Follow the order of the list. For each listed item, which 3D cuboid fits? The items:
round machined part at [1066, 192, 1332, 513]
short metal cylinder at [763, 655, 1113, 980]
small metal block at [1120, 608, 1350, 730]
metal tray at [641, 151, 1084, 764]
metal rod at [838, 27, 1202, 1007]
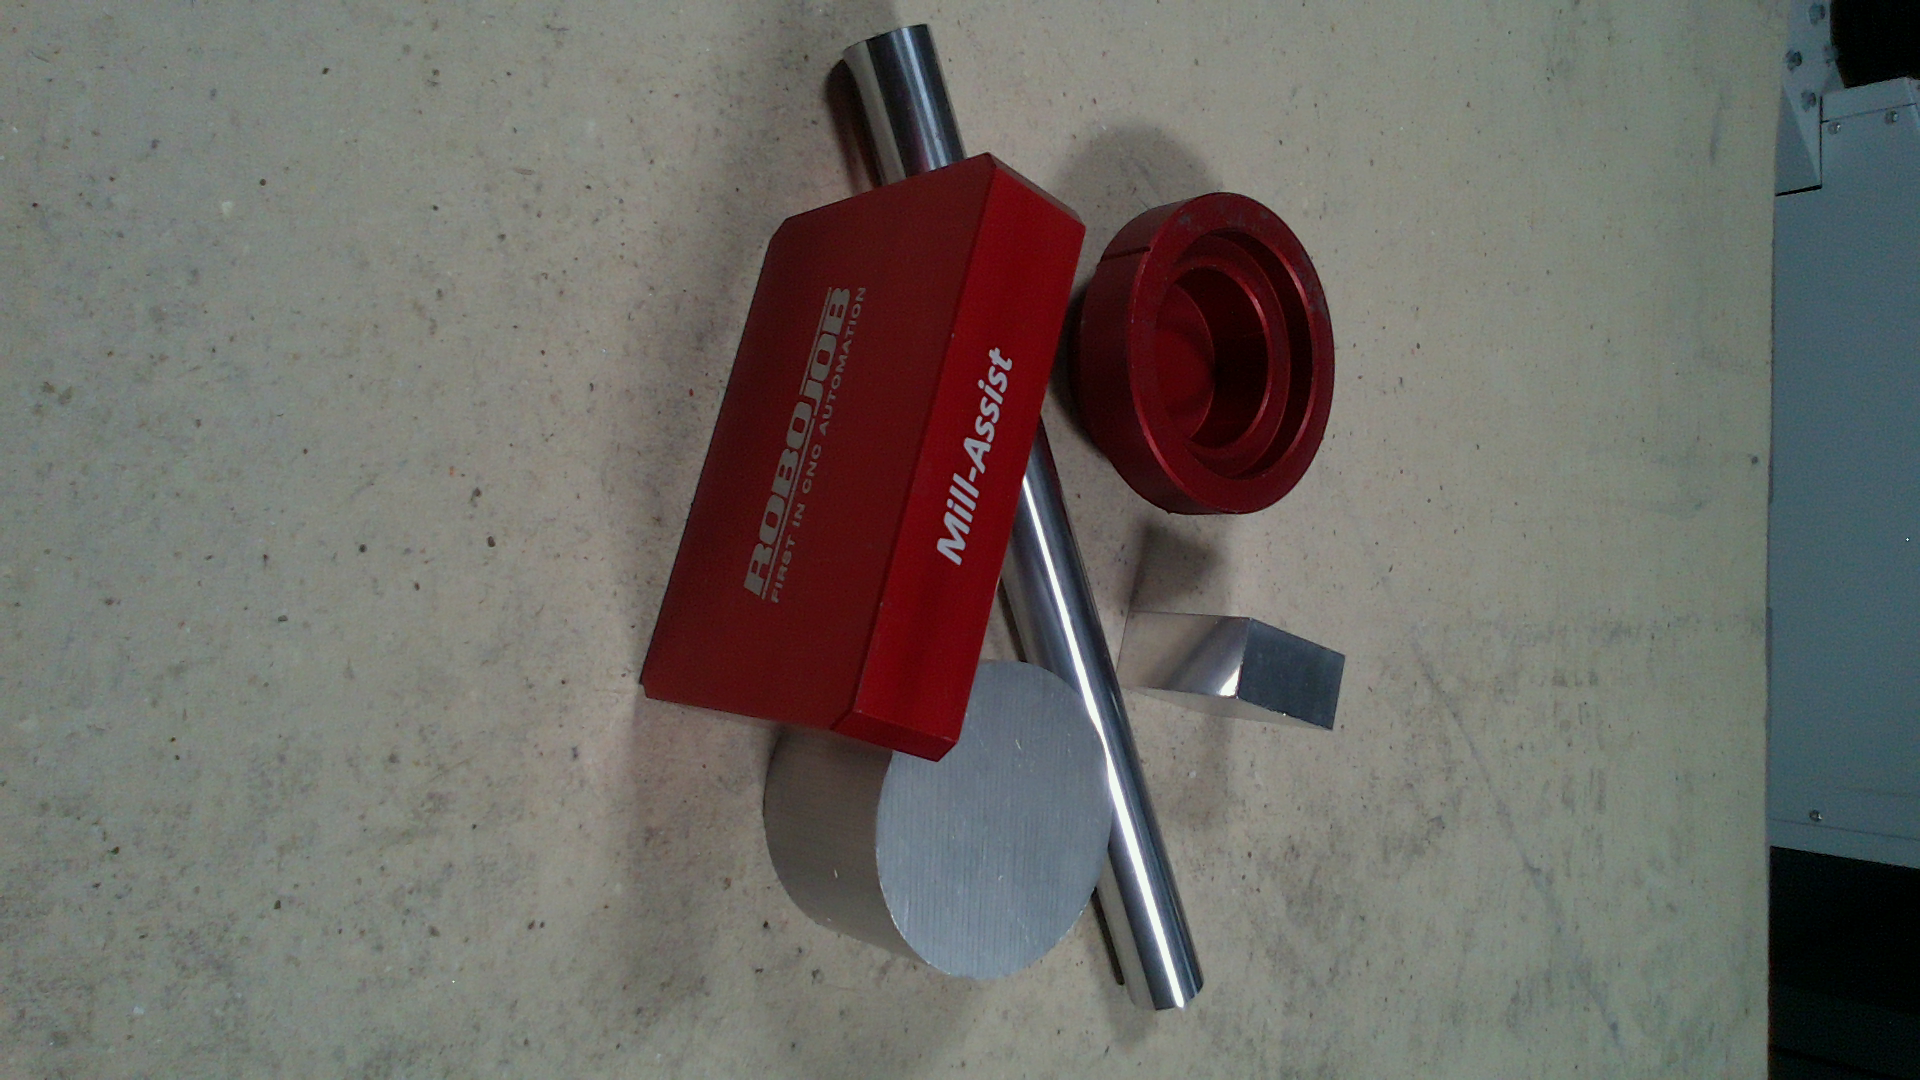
[{"bbox_3d":[0.072,-0.057,0.438,0.098,0.042,0.098,0,90,-40],"label":"round machined part"},{"bbox_3d":[-0.005,0.071,0.368,0.080,0.050,0.080,0,90,-40],"label":"short metal cylinder"},{"bbox_3d":[0.088,0.041,0.443,0.050,0.050,0.025,21,77,-38],"label":"small metal block"},{"bbox_3d":[-0.025,-0.019,0.326,0.030,0.090,0.130,23,75,-37],"label":"metal tray"},{"bbox_3d":[0.022,0.004,0.409,0.025,0.025,0.300,-28,108,-36],"label":"metal rod"}]
